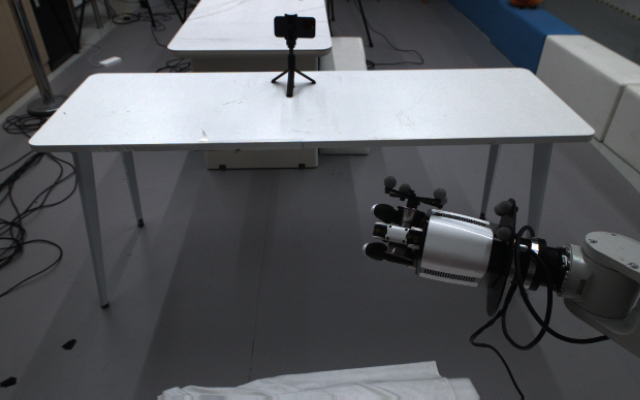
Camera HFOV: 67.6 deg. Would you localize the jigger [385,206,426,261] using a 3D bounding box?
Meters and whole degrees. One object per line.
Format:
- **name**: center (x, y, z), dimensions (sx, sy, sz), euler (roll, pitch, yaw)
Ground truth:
- **jigger**: center (0.121, 0.046, 0.677), dimensions (0.043, 0.071, 0.043), euler (16, -7, 2)
